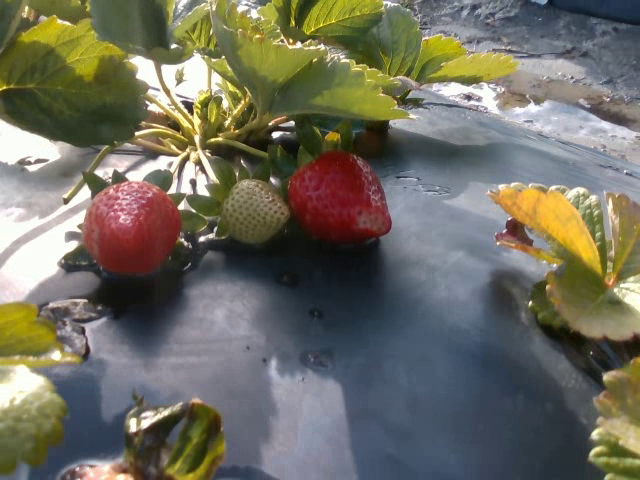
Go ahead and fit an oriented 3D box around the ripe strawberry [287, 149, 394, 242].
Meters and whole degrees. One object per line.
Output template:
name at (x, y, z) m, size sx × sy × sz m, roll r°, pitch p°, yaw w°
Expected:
ripe strawberry at (0.012, -0.017, 0.278) m, size 0.050 × 0.049 × 0.065 m, roll 38°, pitch 8°, yaw -49°
